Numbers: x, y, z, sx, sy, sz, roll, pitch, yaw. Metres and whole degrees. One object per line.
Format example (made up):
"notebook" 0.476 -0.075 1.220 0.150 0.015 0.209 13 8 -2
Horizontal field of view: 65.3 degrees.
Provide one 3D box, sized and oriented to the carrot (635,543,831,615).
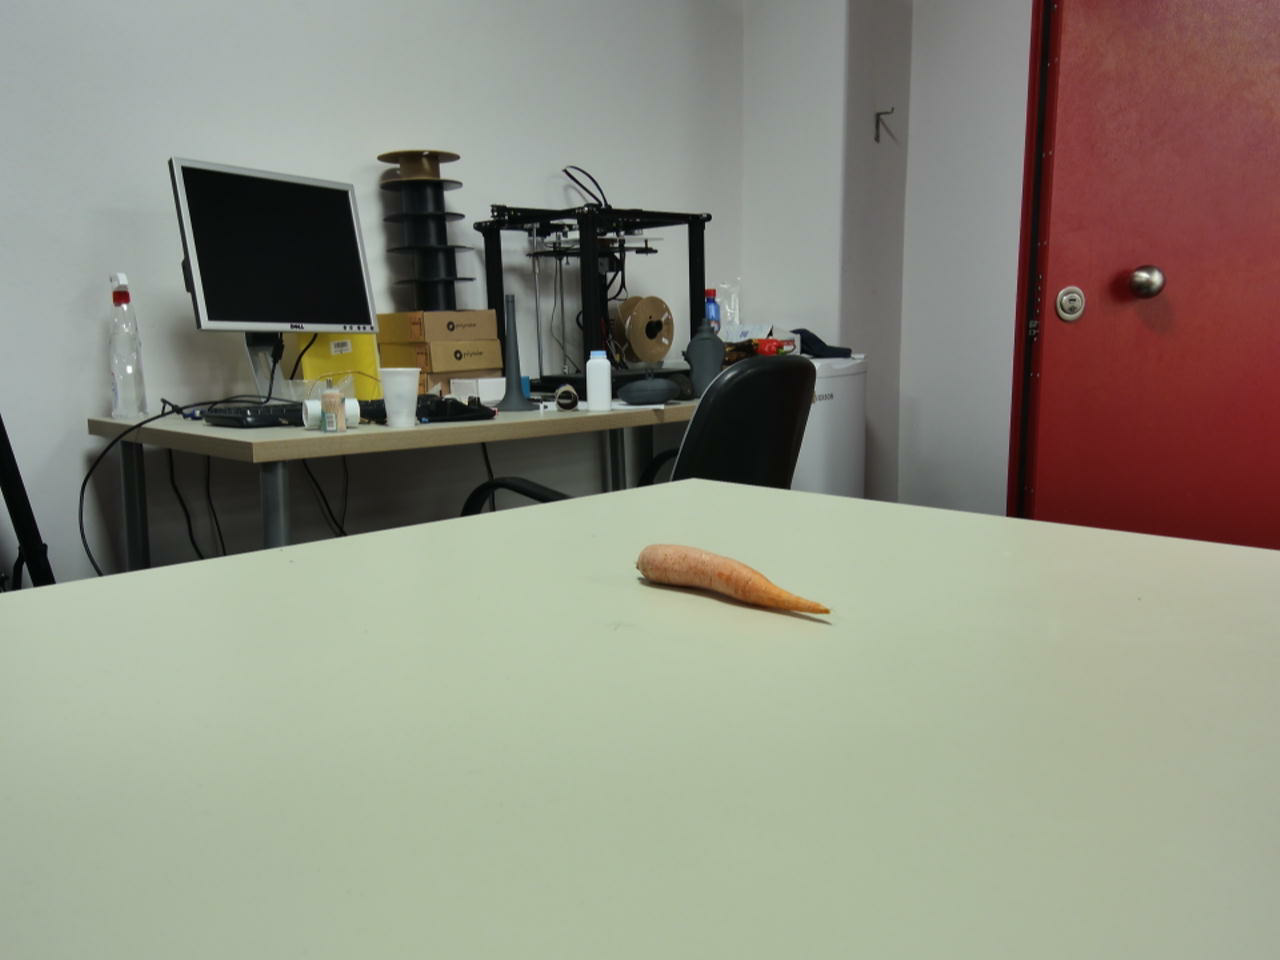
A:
"carrot" 0.056 0.062 0.635 0.031 0.029 0.163 -6 9 -43
